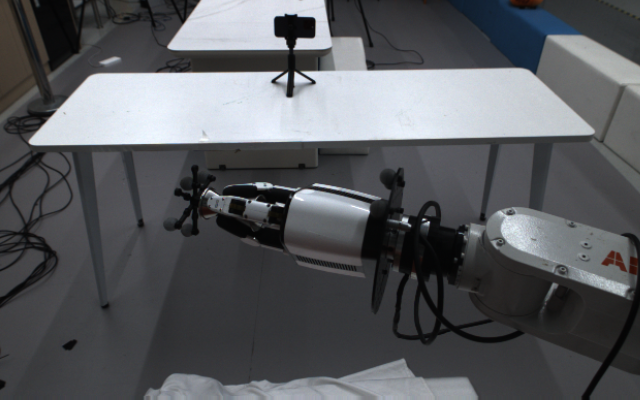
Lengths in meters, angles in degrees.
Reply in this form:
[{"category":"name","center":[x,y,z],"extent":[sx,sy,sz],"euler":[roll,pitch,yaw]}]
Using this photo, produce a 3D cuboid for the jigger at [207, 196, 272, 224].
[{"category":"jigger","center":[-0.099,0.005,0.568],"extent":[0.071,0.043,0.043],"euler":[10,35,16]}]
